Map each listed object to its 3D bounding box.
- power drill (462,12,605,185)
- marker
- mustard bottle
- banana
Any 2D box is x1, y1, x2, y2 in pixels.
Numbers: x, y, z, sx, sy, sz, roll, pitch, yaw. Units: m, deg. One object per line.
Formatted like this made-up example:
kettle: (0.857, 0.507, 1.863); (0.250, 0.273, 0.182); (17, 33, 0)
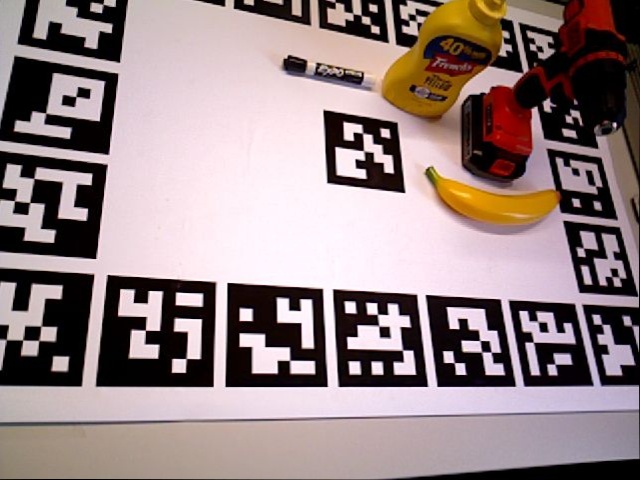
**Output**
power drill: (0.246, -0.145, 0.640); (0.057, 0.191, 0.182); (19, 62, -15)
marker: (-0.007, -0.202, 0.684); (0.120, 0.020, 0.019); (8, 69, -18)
mustard bottle: (0.141, -0.210, 0.643); (0.095, 0.195, 0.058); (17, 64, -15)
banana: (0.206, -0.030, 0.693); (0.196, 0.039, 0.073); (13, 68, -14)
